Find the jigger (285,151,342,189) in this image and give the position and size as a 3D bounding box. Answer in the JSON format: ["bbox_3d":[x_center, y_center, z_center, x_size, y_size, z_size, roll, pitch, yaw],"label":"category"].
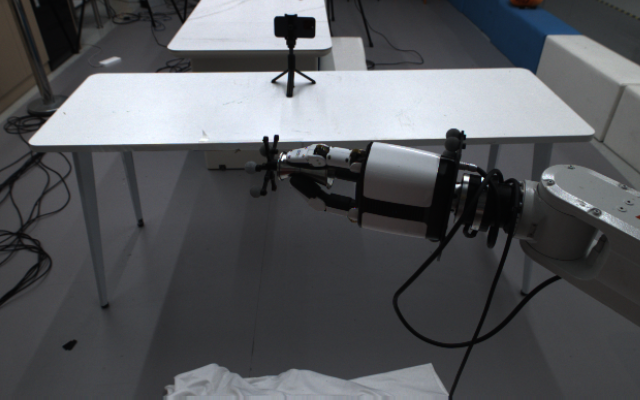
[{"bbox_3d":[-0.011,-0.046,0.632,0.071,0.043,0.043,8,35,14],"label":"jigger"}]
